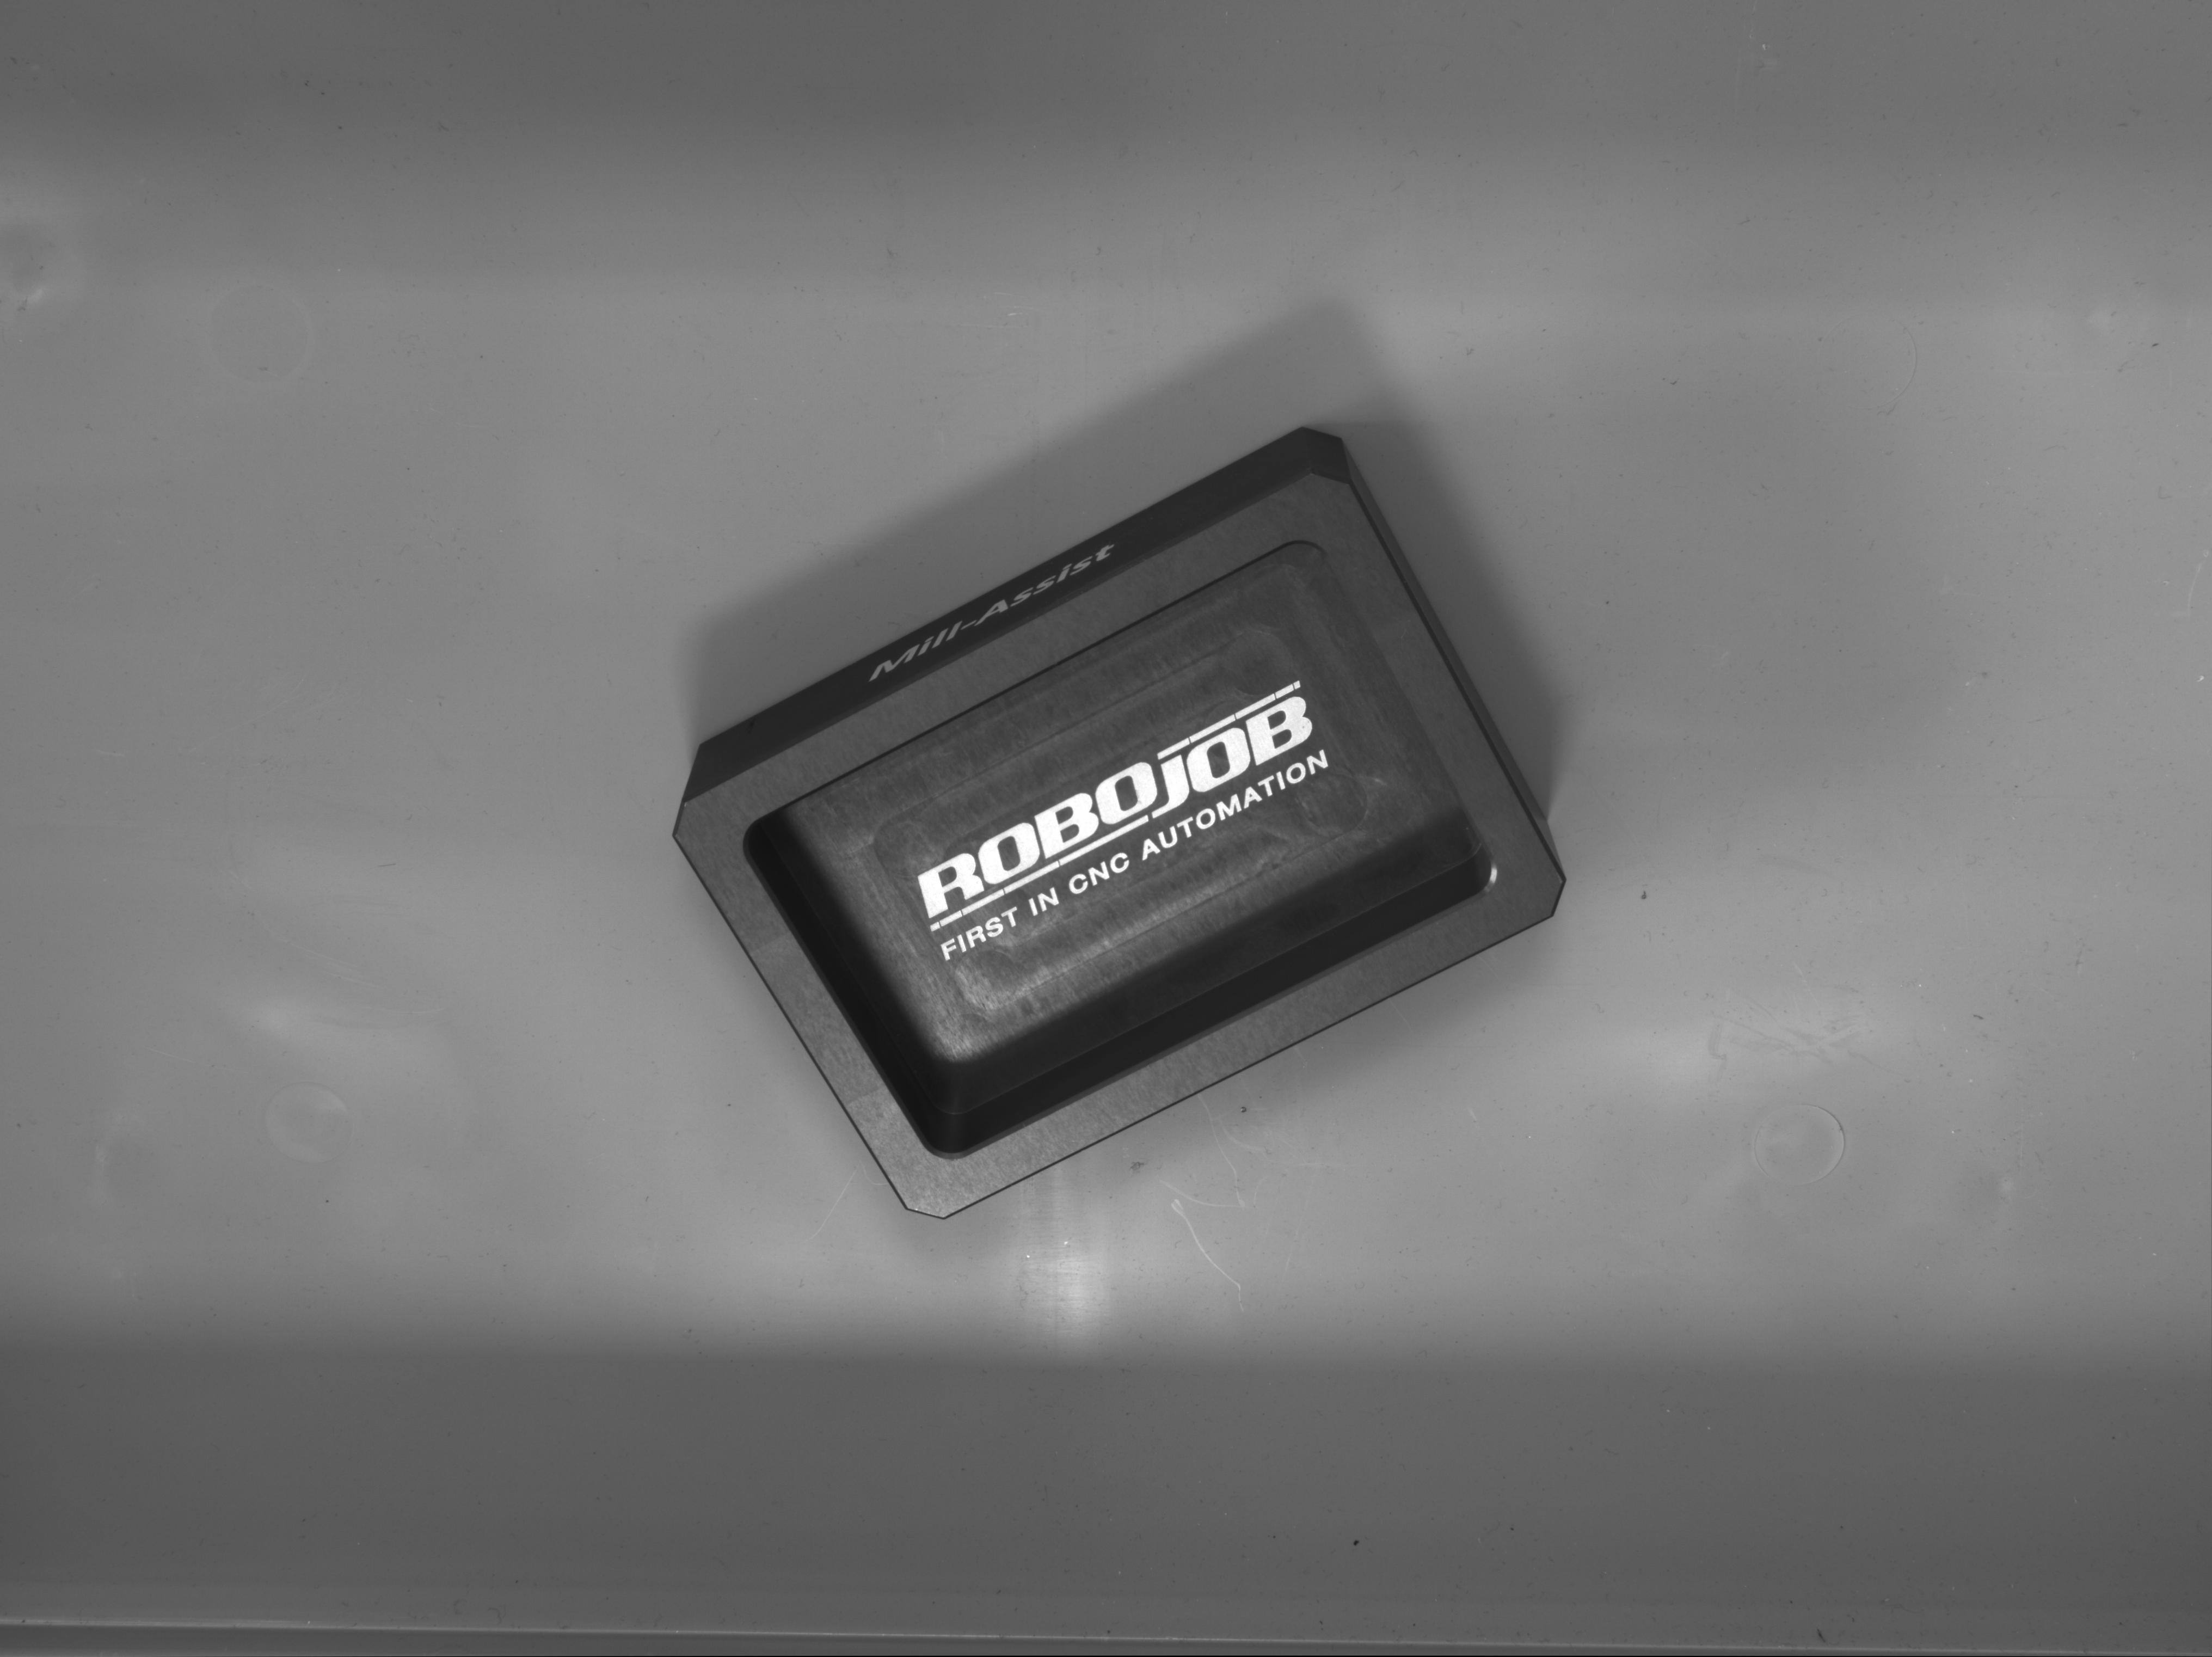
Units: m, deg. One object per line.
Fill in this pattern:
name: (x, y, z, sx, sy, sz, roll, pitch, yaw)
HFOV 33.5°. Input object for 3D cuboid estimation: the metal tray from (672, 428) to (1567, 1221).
metal tray: (0.002, 0.000, 0.639, 0.130, 0.030, 0.090, -27, 108, 9)
